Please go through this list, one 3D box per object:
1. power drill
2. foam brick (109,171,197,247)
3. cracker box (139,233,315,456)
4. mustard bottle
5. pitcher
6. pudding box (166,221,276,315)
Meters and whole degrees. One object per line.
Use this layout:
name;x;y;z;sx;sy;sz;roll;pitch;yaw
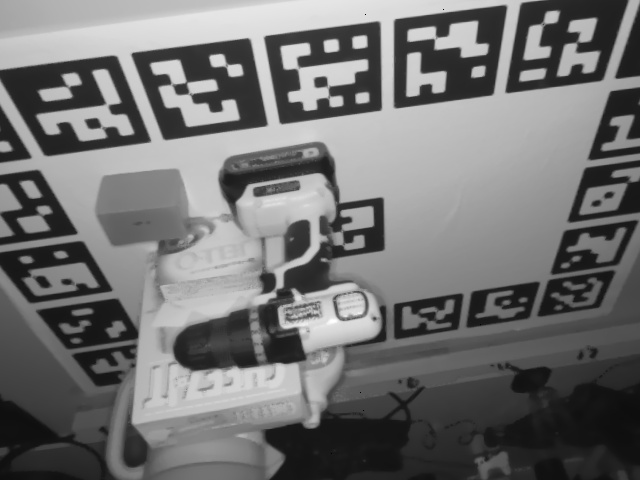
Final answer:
power drill;-0.039;0.029;0.648;0.185;0.188;0.057;-7;141;-1
foam brick;-0.169;-0.032;0.709;0.078;0.051;0.052;-6;135;-4
cracker box;-0.103;0.100;0.735;0.165;0.214;0.071;-10;139;-3
mustard bottle;-0.012;0.153;0.819;0.097;0.192;0.057;2;135;-12
pitcher;-0.142;0.178;0.804;0.190;0.244;0.132;-4;137;-9
pudding box;-0.104;0.028;0.737;0.114;0.090;0.038;-8;139;-6
